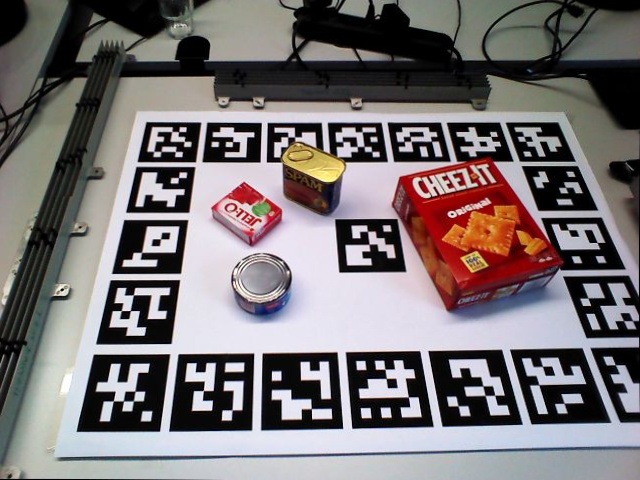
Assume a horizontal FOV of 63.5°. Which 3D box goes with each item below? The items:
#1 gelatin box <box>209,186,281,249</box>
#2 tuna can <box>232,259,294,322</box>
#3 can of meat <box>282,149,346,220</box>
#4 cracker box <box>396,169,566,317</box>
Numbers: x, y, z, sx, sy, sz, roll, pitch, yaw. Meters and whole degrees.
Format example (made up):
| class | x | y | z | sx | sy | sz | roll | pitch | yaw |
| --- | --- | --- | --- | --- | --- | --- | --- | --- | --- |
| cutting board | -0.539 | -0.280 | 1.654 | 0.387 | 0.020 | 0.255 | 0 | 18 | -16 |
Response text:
| class | x | y | z | sx | sy | sz | roll | pitch | yaw |
| --- | --- | --- | --- | --- | --- | --- | --- | --- | --- |
| gelatin box | -0.119 | -0.038 | 0.824 | 0.089 | 0.030 | 0.073 | 35 | 56 | 19 |
| tuna can | -0.080 | 0.072 | 0.736 | 0.086 | 0.034 | 0.085 | 0 | 56 | -1 |
| can of meat | -0.008 | -0.088 | 0.841 | 0.102 | 0.084 | 0.057 | 23 | 55 | 16 |
| cracker box | 0.238 | -0.005 | 0.792 | 0.164 | 0.072 | 0.213 | -14 | 53 | -14 |
